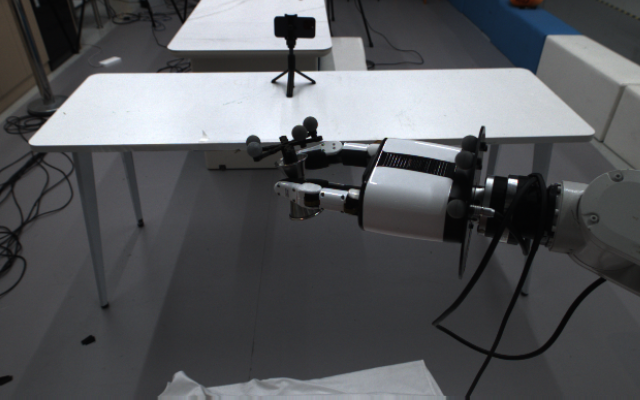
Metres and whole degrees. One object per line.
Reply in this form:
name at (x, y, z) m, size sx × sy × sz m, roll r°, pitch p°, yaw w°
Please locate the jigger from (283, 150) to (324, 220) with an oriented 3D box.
jigger at (-0.023, -0.016, 0.565) m, size 0.043 × 0.071 × 0.043 m, roll -14°, pitch 21°, yaw 6°
